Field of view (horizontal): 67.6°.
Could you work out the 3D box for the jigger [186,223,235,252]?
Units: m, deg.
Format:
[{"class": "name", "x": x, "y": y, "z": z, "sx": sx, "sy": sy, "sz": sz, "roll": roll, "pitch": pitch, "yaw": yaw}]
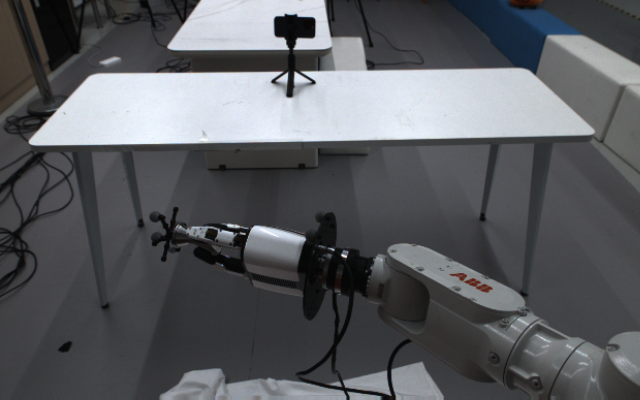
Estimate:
[{"class": "jigger", "x": -0.184, "y": 0.057, "z": 0.762, "sx": 0.071, "sy": 0.043, "sz": 0.043, "roll": 6, "pitch": 35, "yaw": 14}]
